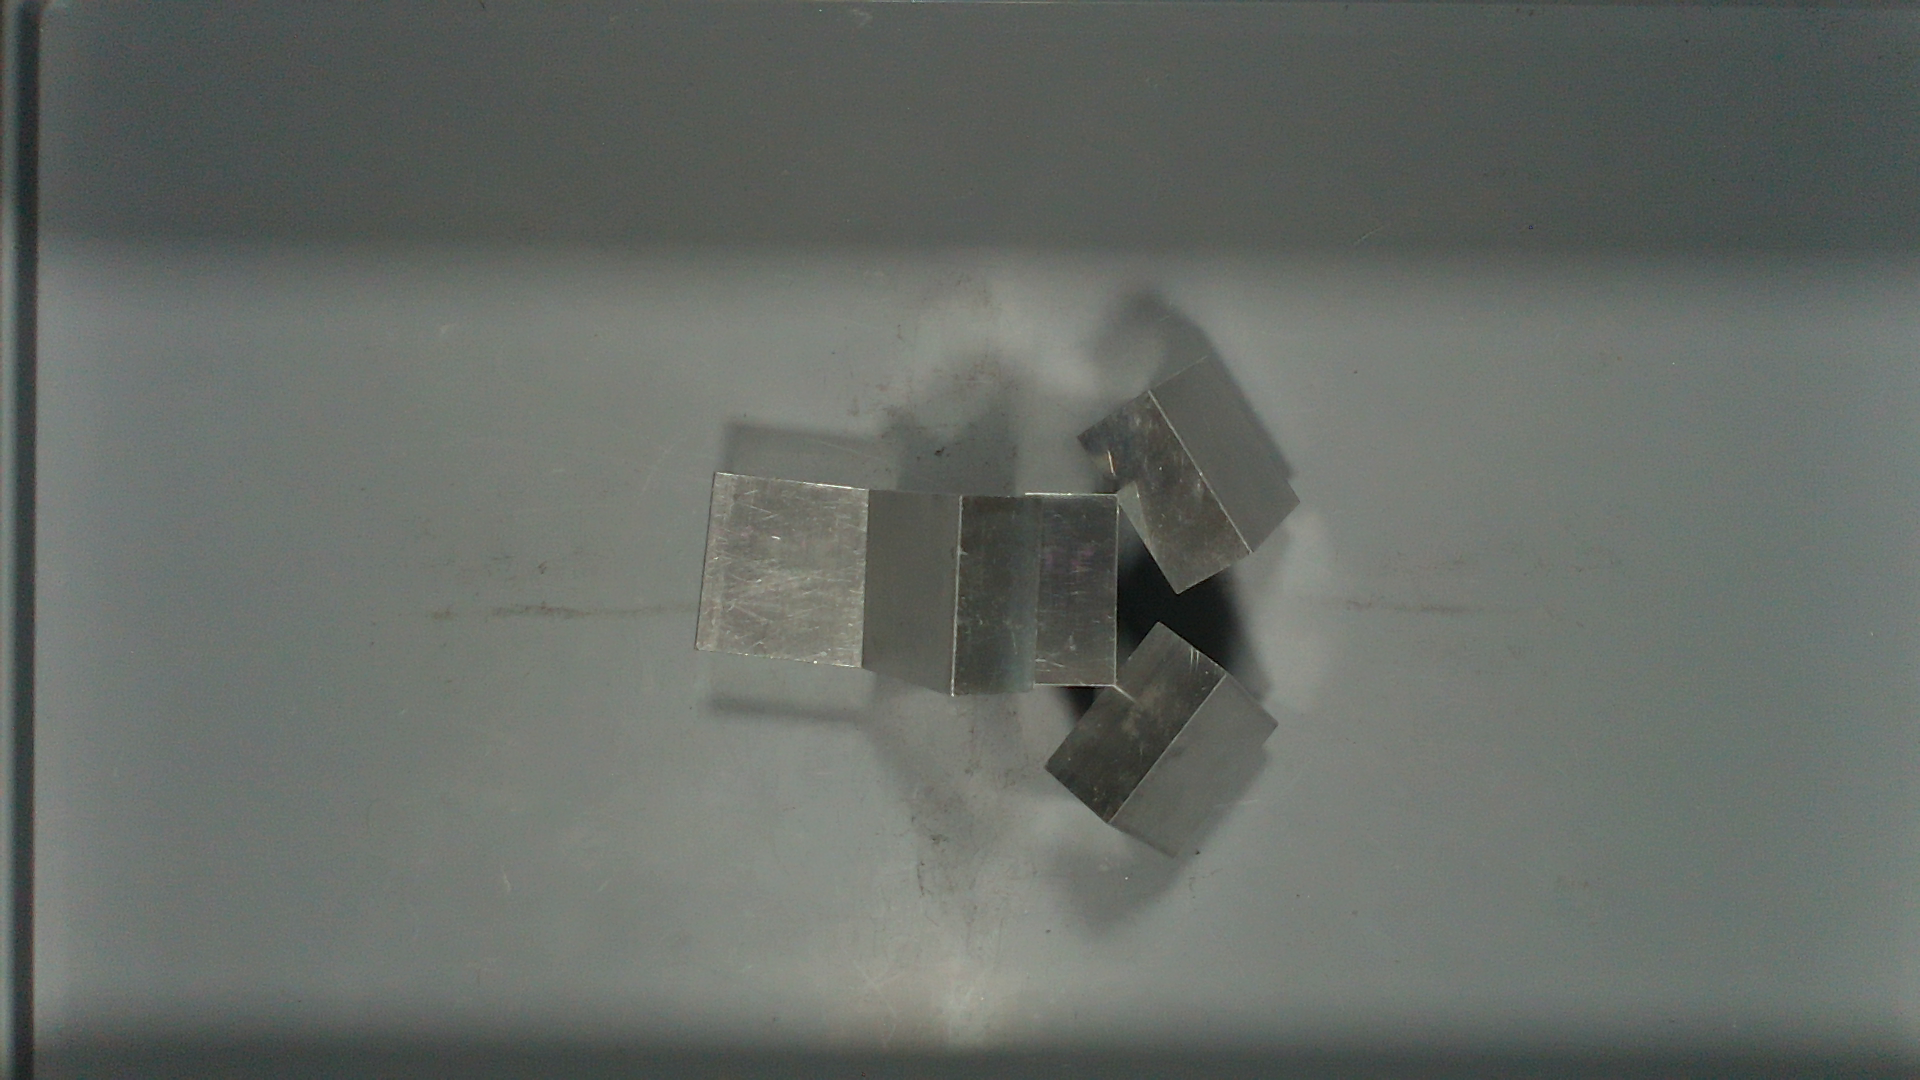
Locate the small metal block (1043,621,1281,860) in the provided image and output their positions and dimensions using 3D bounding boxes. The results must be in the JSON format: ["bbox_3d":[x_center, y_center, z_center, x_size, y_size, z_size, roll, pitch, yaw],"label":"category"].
[{"bbox_3d":[0.057,0.057,0.380,0.025,0.050,0.050,38,89,35],"label":"small metal block"}]

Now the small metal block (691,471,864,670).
[{"bbox_3d":[-0.047,0.009,0.393,0.050,0.025,0.050,6,90,0],"label":"small metal block"}]

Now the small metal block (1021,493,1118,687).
[{"bbox_3d":[0.028,0.013,0.382,0.025,0.050,0.050,1,90,0],"label":"small metal block"}]

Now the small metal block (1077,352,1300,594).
[{"bbox_3d":[0.065,-0.020,0.379,0.025,0.050,0.050,-32,90,32],"label":"small metal block"}]

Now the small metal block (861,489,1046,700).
[{"bbox_3d":[-0.003,0.013,0.364,0.025,0.050,0.050,1,93,-31],"label":"small metal block"}]
